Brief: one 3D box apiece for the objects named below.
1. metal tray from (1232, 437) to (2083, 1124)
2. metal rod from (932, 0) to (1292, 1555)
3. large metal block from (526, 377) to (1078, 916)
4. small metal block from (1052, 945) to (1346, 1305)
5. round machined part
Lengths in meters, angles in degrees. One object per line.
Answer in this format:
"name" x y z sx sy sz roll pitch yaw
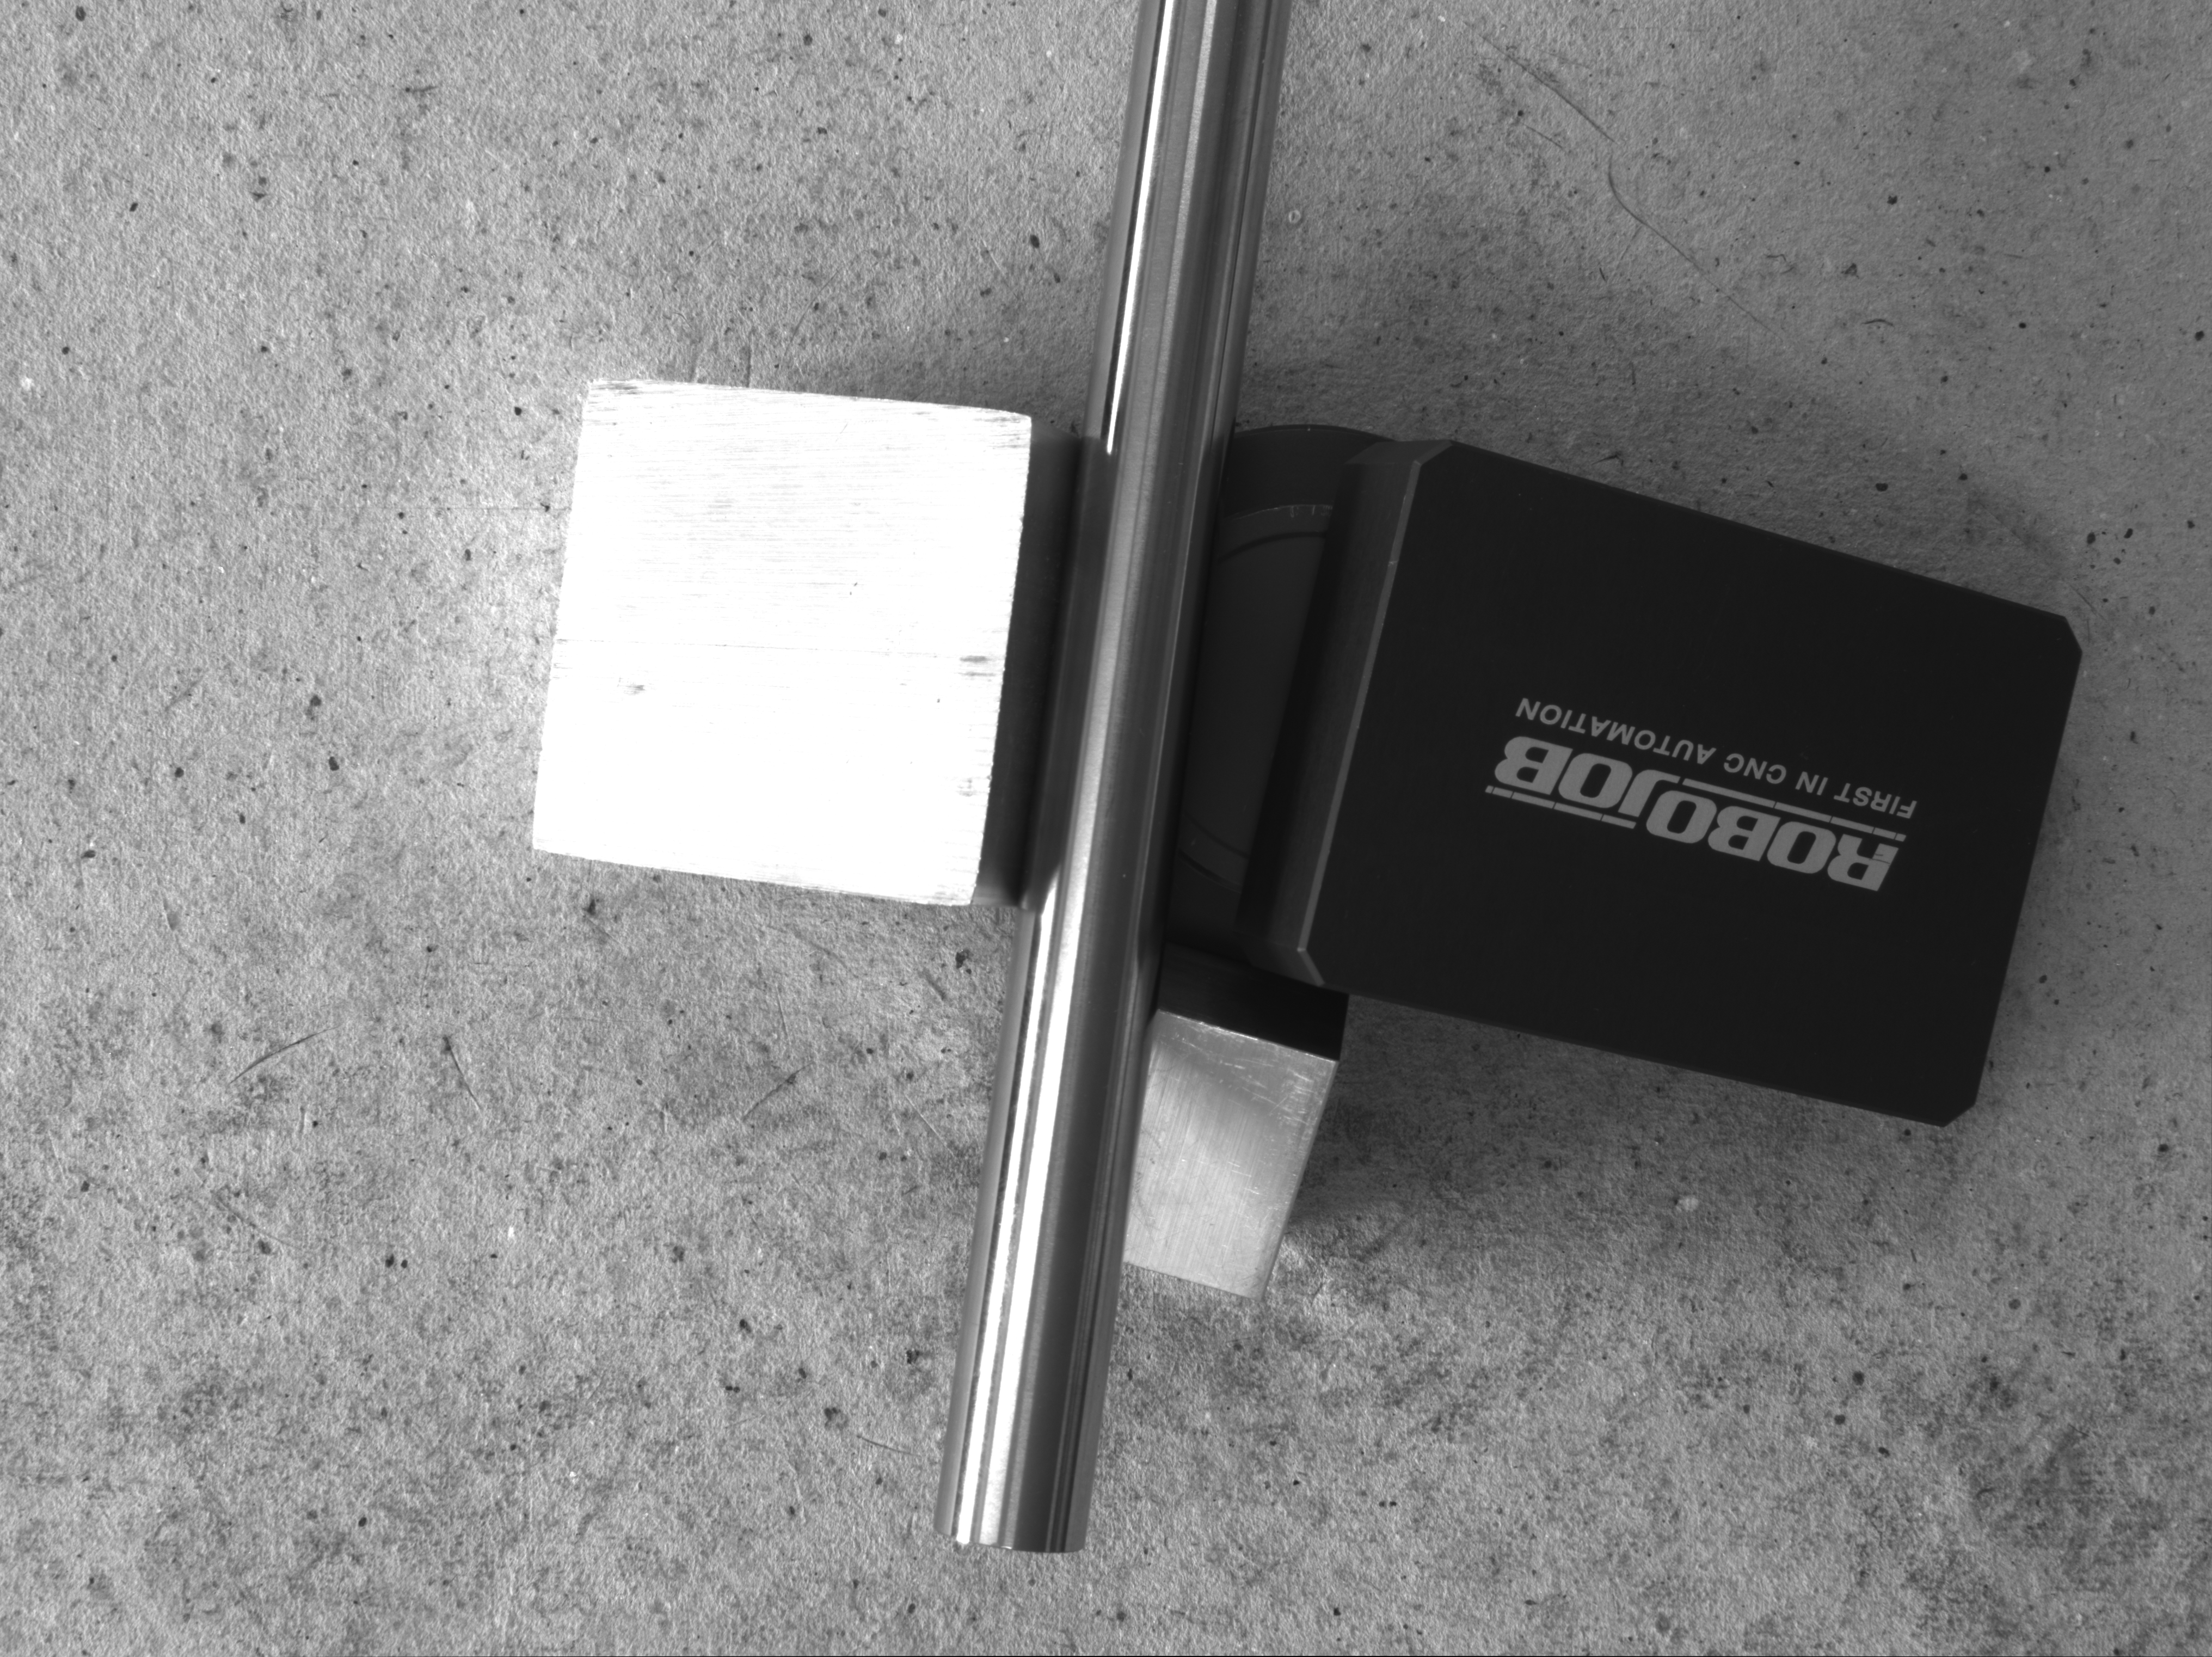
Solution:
"metal tray" 0.094 -0.007 0.621 0.130 0.030 0.090 13 91 -20
"metal rod" 0.004 -0.033 0.604 0.025 0.025 0.300 8 88 0
"large metal block" -0.046 -0.030 0.623 0.080 0.050 0.080 7 90 18
"small metal block" 0.010 0.049 0.636 0.050 0.025 0.050 16 115 1
"round machined part" 0.035 -0.021 0.637 0.098 0.042 0.098 0 90 0
